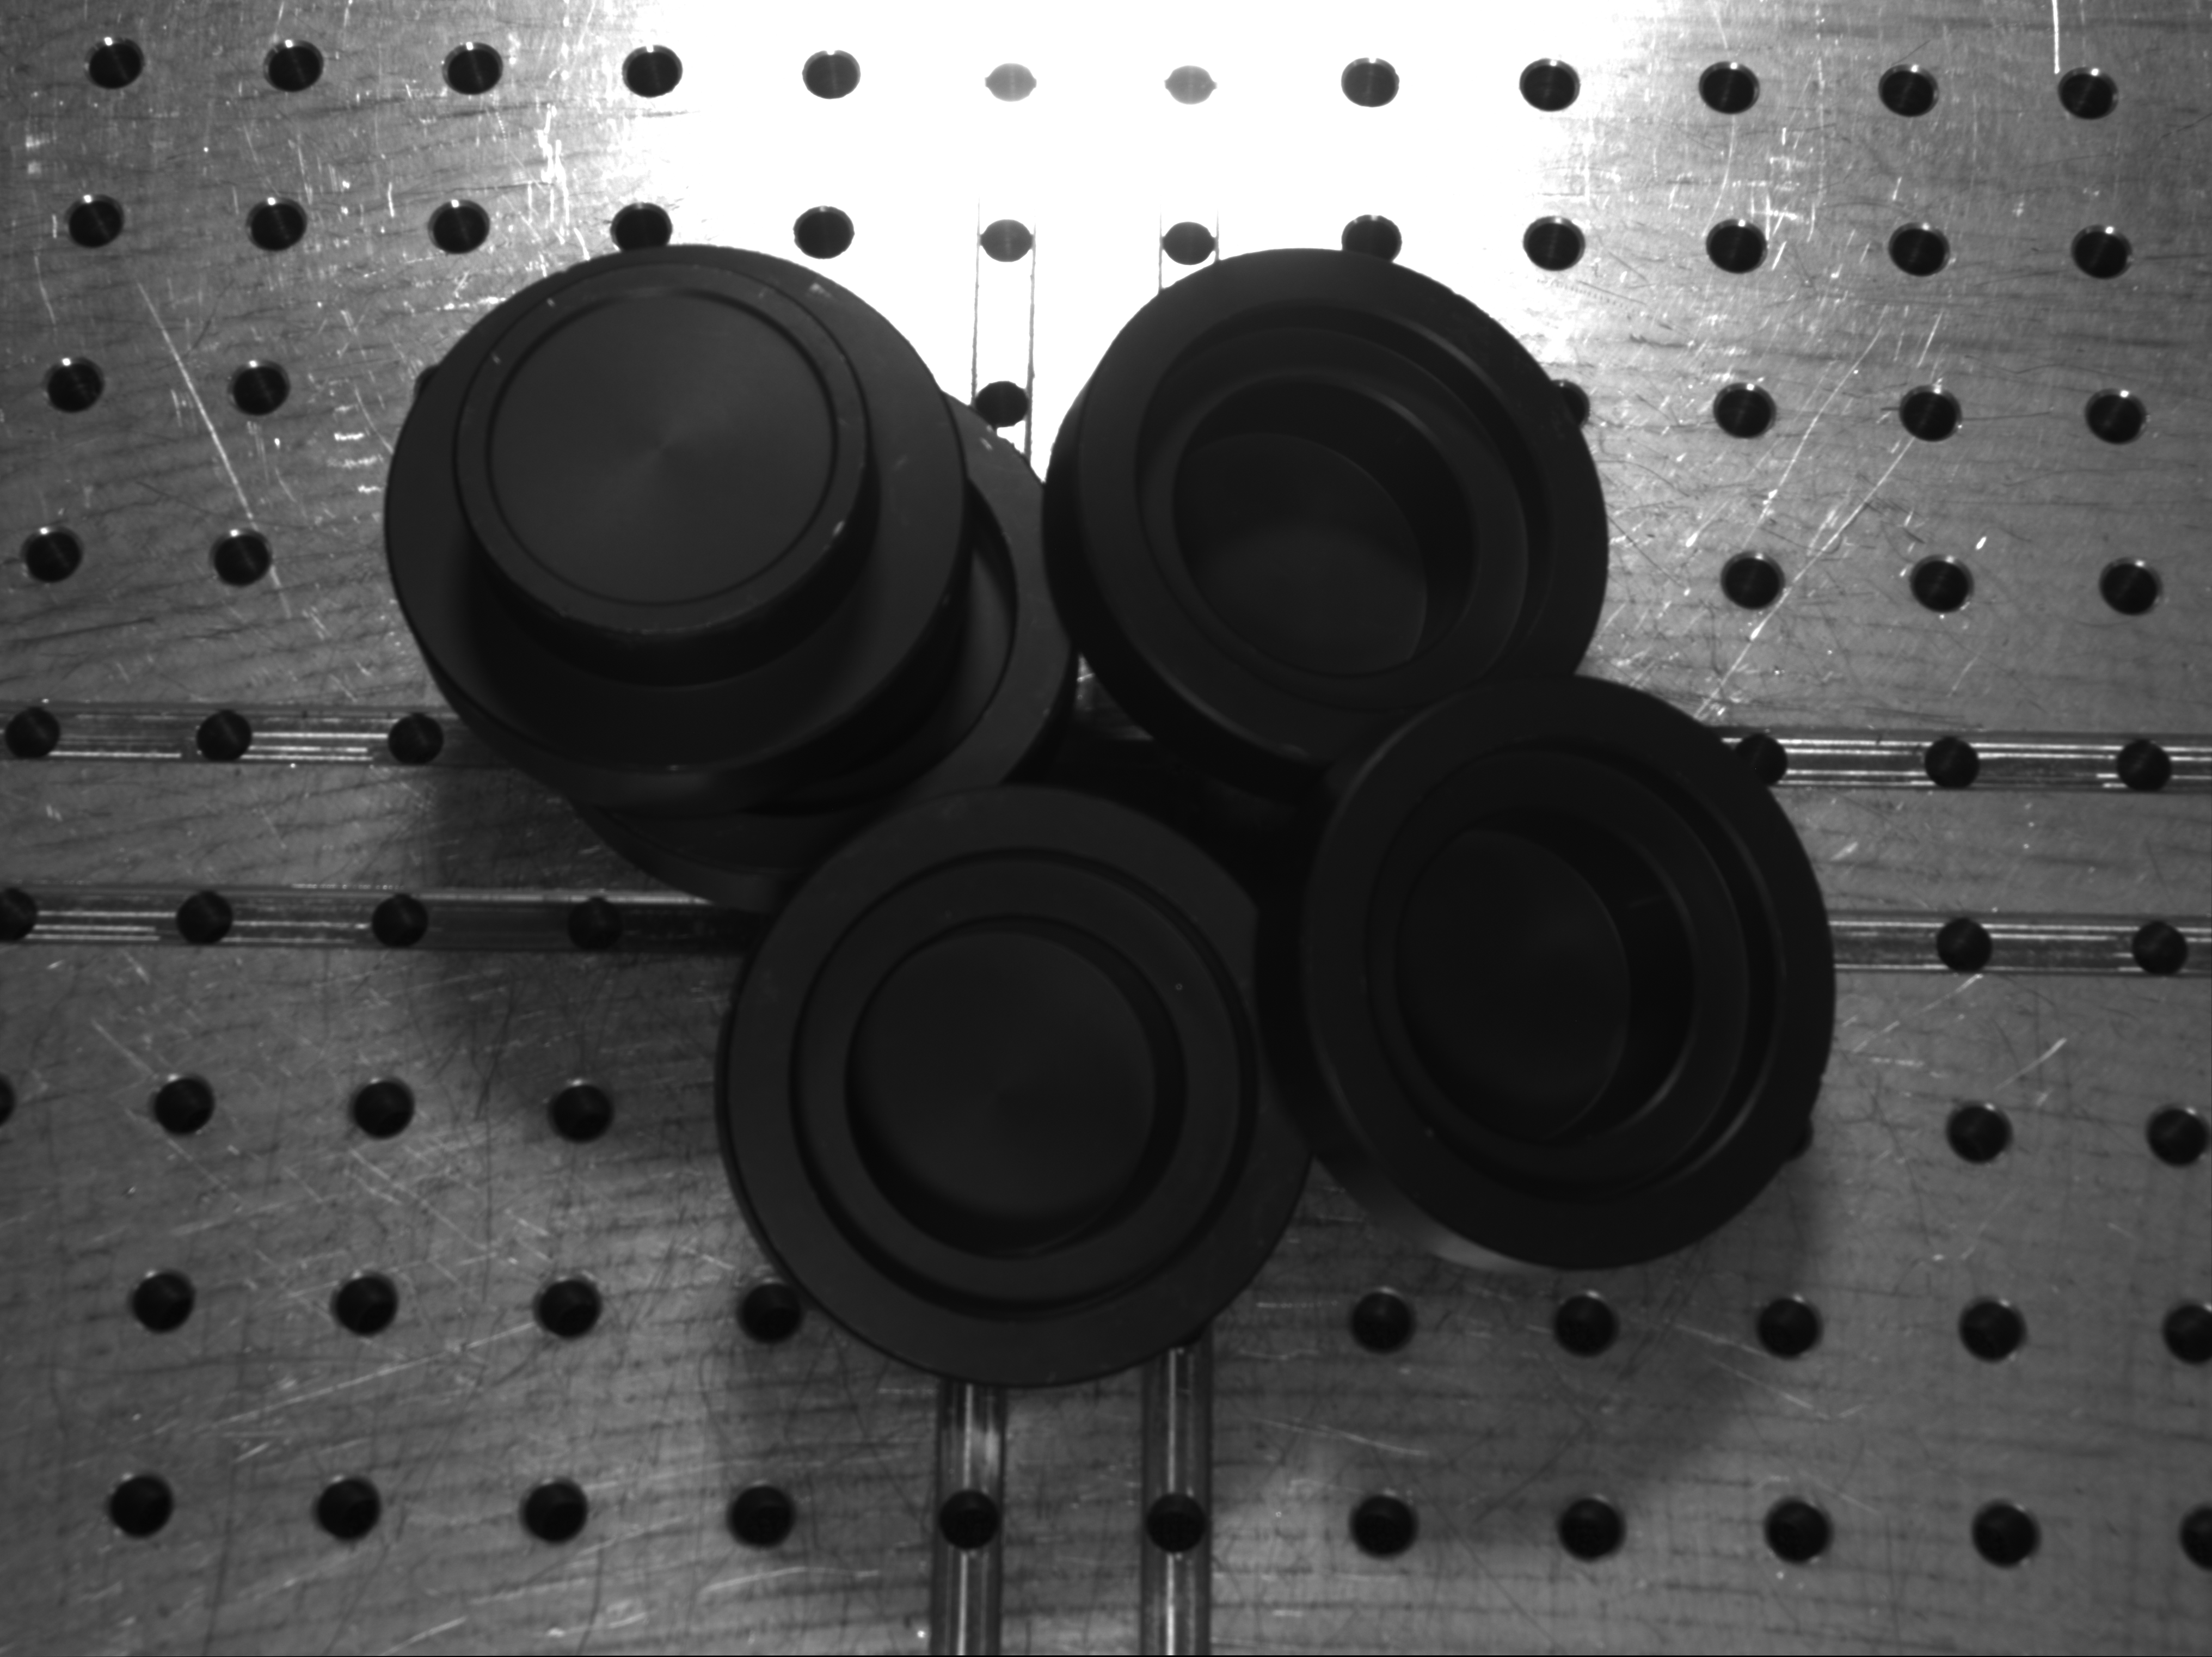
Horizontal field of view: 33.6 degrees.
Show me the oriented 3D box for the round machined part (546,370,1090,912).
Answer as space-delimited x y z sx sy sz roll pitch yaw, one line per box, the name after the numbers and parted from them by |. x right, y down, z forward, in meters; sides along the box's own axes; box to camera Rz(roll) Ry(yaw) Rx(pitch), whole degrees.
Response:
-0.051 -0.031 0.649 0.098 0.042 0.098 0 70 0 | round machined part

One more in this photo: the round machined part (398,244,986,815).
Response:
-0.070 -0.055 0.613 0.098 0.042 0.098 0 70 0 | round machined part

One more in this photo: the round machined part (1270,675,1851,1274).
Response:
0.072 0.026 0.616 0.098 0.042 0.098 4 80 -20 | round machined part

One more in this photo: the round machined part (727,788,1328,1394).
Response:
-0.015 0.044 0.613 0.098 0.042 0.098 1 84 -10 | round machined part

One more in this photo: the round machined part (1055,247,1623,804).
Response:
0.038 -0.049 0.647 0.098 0.042 0.098 5 70 -15 | round machined part
